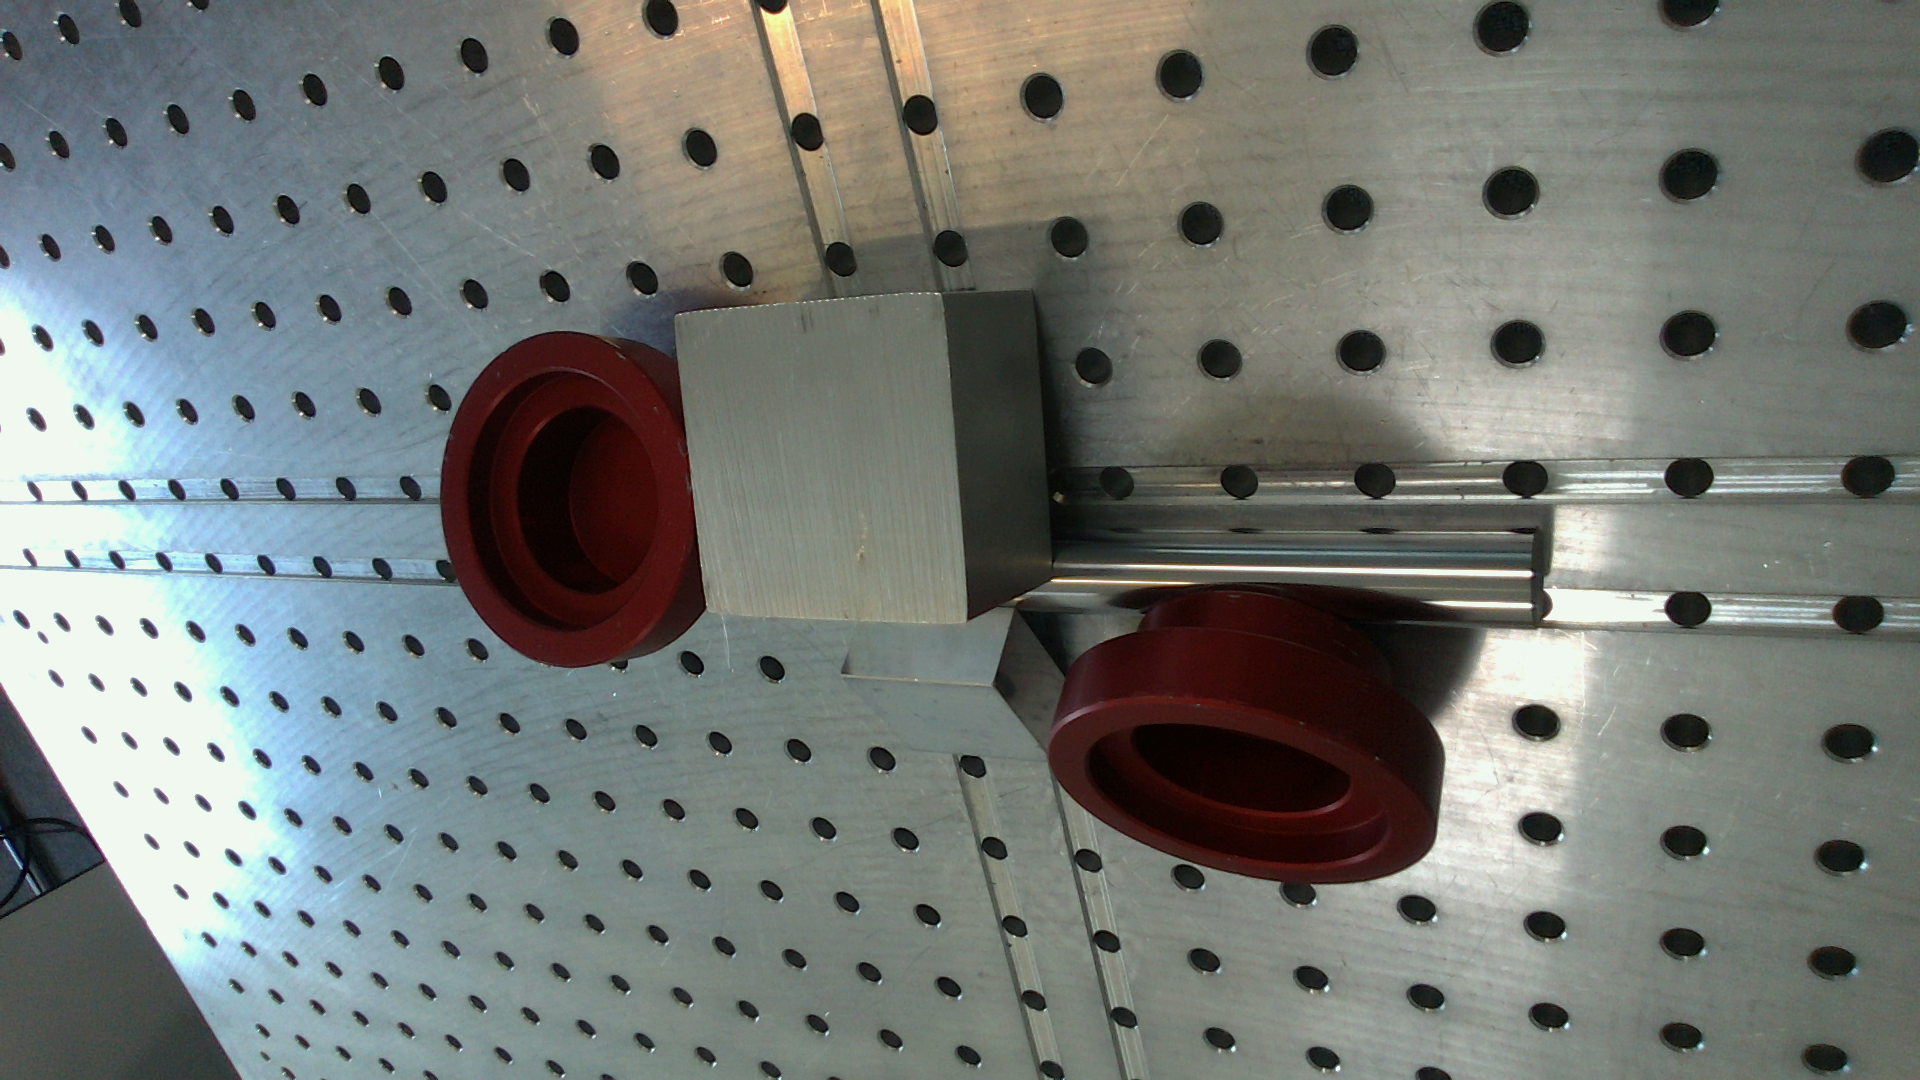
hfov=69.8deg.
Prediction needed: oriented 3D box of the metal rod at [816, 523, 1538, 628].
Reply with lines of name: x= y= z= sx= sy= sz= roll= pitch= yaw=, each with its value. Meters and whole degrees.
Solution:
metal rod: x=0.005 y=0.007 z=0.399 sx=0.299 sy=0.025 sz=0.025 roll=0 pitch=119 yaw=28

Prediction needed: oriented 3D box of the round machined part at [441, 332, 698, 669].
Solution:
round machined part: x=-0.107 y=-0.012 z=0.418 sx=0.098 sy=0.042 sz=0.098 roll=2 pitch=93 yaw=28

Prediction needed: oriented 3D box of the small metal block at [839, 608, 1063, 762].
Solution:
small metal block: x=0.000 y=0.042 z=0.409 sx=0.050 sy=0.025 sz=0.050 roll=1 pitch=148 yaw=28

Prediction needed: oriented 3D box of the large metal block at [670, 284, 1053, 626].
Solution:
large metal block: x=-0.025 y=-0.024 z=0.364 sx=0.080 sy=0.050 sz=0.080 roll=1 pitch=101 yaw=28

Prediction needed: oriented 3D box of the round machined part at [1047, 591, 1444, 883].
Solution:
round machined part: x=0.075 y=0.049 z=0.359 sx=0.098 sy=0.042 sz=0.098 roll=14 pitch=148 yaw=9
